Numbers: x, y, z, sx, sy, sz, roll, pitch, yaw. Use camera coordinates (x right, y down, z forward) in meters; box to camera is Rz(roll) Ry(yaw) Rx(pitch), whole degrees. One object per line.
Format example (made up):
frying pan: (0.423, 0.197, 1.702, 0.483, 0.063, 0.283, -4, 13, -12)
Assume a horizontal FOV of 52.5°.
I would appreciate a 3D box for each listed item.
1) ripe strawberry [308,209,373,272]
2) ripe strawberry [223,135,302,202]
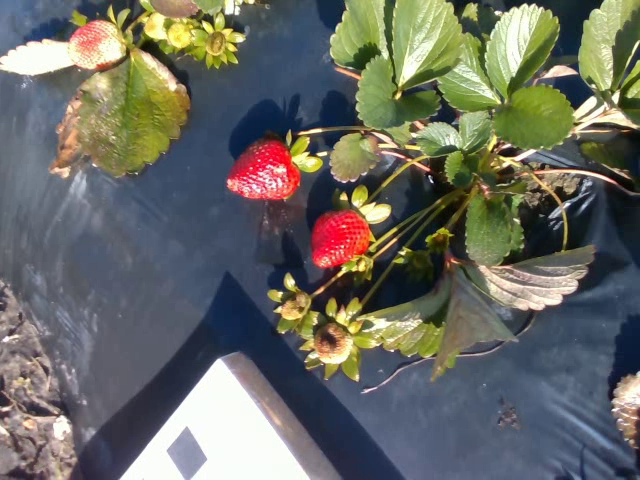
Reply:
ripe strawberry: (0.008, 0.002, 0.391, 0.042, 0.039, 0.049, -1, 31, 36)
ripe strawberry: (-0.042, -0.045, 0.416, 0.050, 0.051, 0.044, -20, -14, -34)
